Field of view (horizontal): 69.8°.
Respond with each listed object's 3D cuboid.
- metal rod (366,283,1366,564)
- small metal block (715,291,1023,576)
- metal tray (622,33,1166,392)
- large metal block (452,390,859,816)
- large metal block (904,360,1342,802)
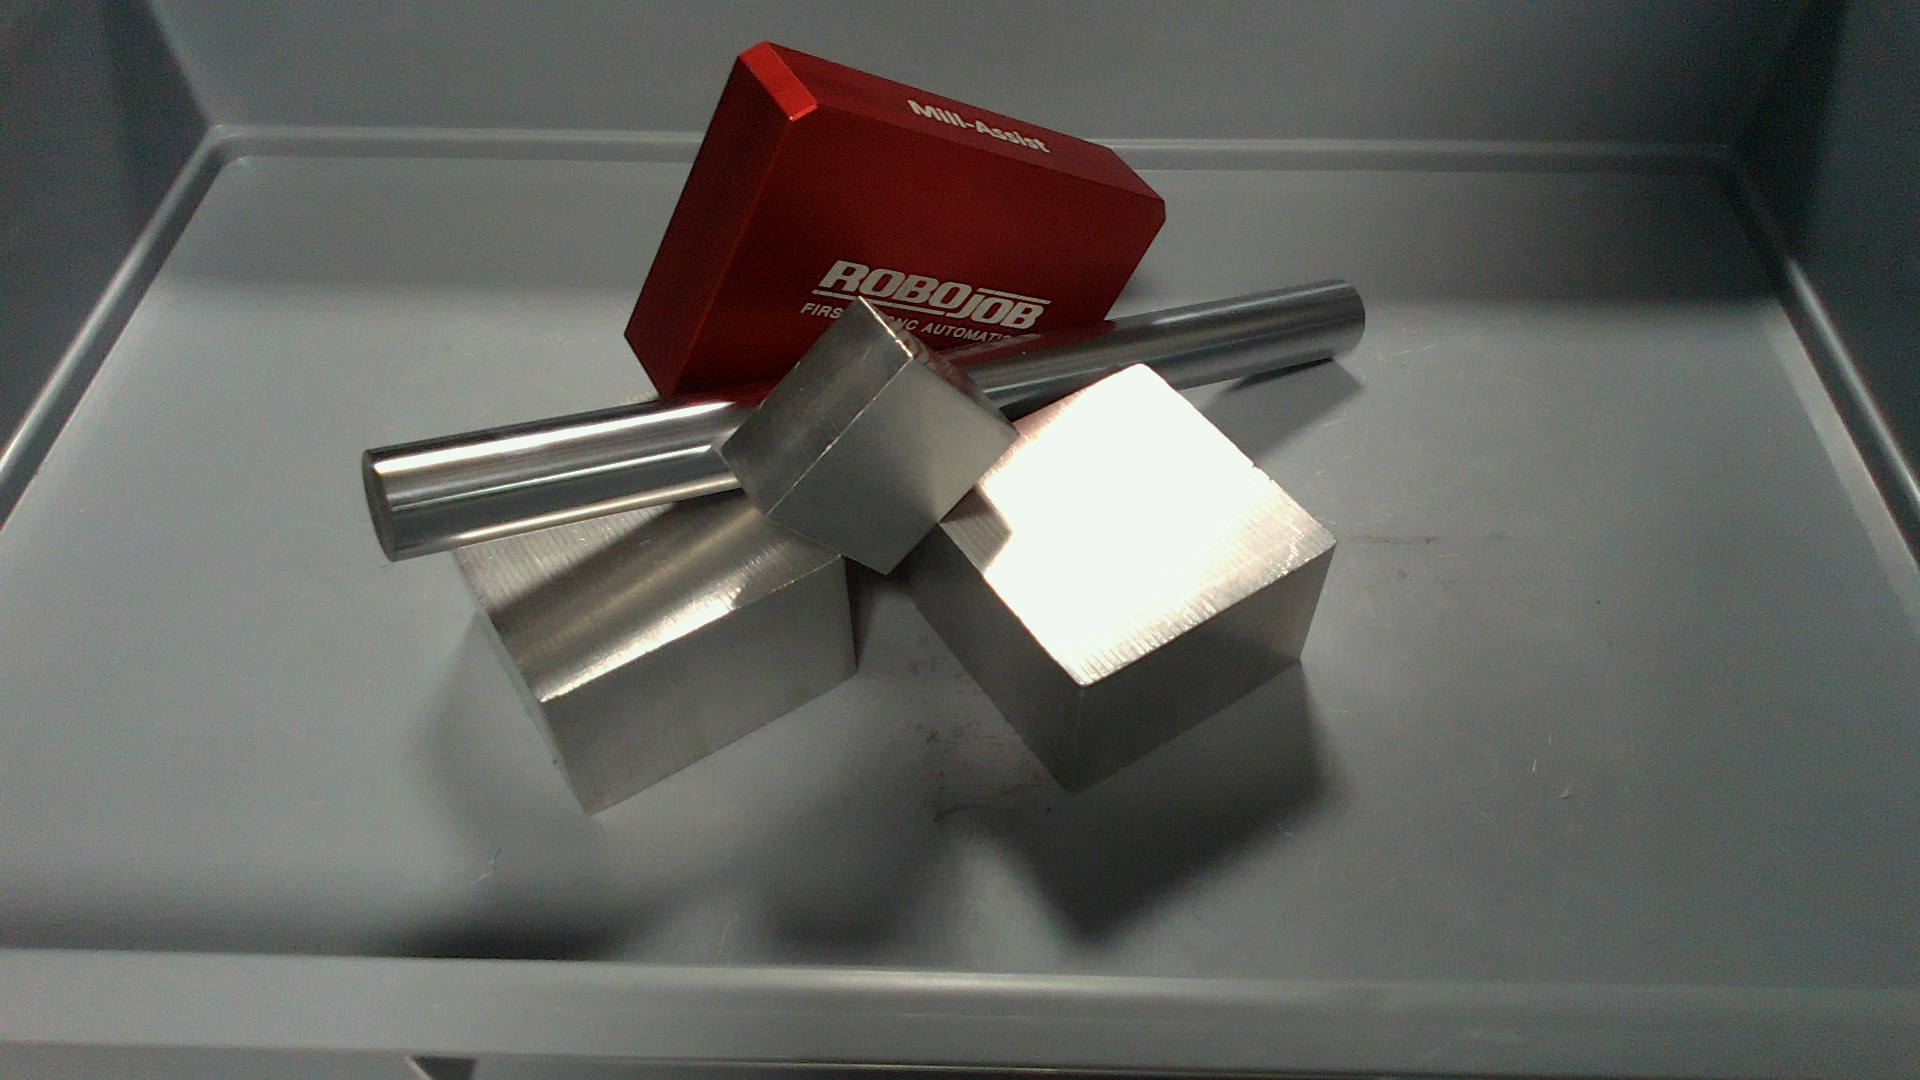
[{"bbox_3d":[0.000,-0.040,0.375,0.301,0.025,0.025,-15,50,-31],"label":"metal rod"},{"bbox_3d":[-0.021,-0.024,0.331,0.050,0.050,0.025,-46,55,11],"label":"small metal block"},{"bbox_3d":[-0.015,-0.074,0.375,0.131,0.090,0.030,2,42,-42],"label":"metal tray"},{"bbox_3d":[-0.083,0.011,0.362,0.080,0.050,0.080,-27,55,-21],"label":"large metal block"},{"bbox_3d":[0.039,0.008,0.367,0.080,0.050,0.080,-27,55,-21],"label":"large metal block"}]
